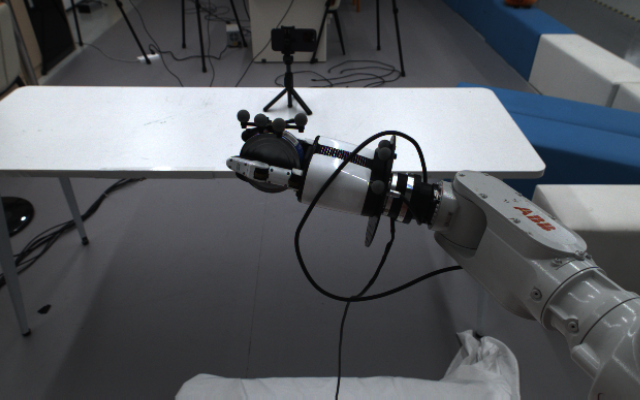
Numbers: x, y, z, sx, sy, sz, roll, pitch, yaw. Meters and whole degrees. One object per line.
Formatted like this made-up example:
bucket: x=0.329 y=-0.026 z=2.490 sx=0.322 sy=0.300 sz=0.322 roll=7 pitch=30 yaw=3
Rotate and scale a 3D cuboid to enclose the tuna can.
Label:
tuna can: x=-0.065 y=-0.056 z=0.666 sx=0.085 sy=0.085 sz=0.034 roll=9 pitch=23 yaw=9
